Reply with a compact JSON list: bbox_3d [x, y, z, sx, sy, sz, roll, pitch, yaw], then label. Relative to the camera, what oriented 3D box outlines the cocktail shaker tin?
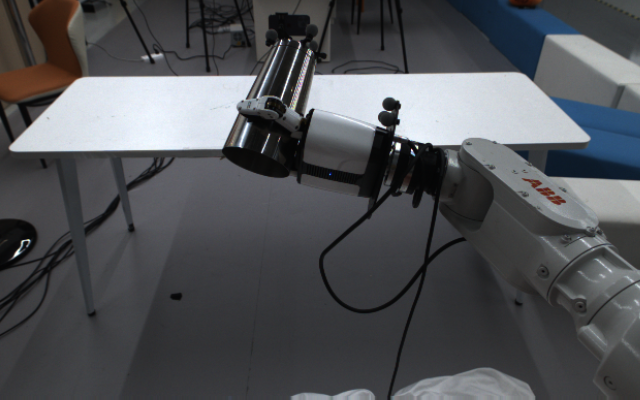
[{"bbox_3d":[-0.060,-0.126,0.650,0.093,0.093,0.170,13,73,15],"label":"cocktail shaker tin"}]
